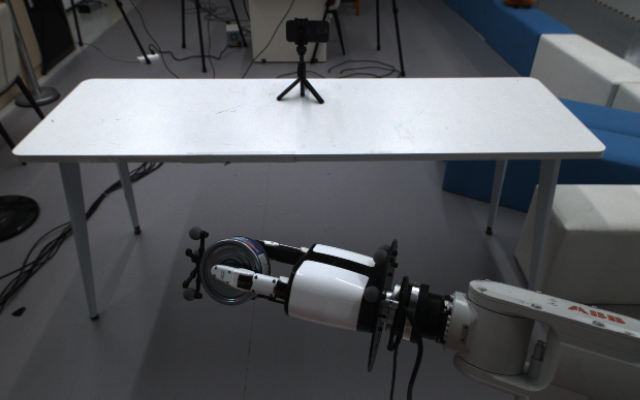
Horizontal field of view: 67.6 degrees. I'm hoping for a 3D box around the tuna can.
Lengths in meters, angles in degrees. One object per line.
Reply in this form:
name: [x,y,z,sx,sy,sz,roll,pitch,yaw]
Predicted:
tuna can: [-0.107,0.089,0.617,0.085,0.085,0.034,10,2,11]
